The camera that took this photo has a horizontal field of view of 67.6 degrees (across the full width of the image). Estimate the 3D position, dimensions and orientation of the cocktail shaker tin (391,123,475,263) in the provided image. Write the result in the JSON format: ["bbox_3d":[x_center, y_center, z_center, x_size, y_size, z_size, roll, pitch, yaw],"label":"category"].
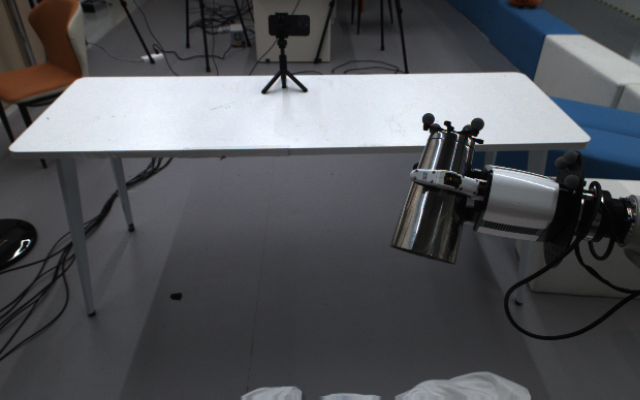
[{"bbox_3d":[0.164,-0.006,0.677,0.093,0.170,0.093,16,-6,2],"label":"cocktail shaker tin"}]
